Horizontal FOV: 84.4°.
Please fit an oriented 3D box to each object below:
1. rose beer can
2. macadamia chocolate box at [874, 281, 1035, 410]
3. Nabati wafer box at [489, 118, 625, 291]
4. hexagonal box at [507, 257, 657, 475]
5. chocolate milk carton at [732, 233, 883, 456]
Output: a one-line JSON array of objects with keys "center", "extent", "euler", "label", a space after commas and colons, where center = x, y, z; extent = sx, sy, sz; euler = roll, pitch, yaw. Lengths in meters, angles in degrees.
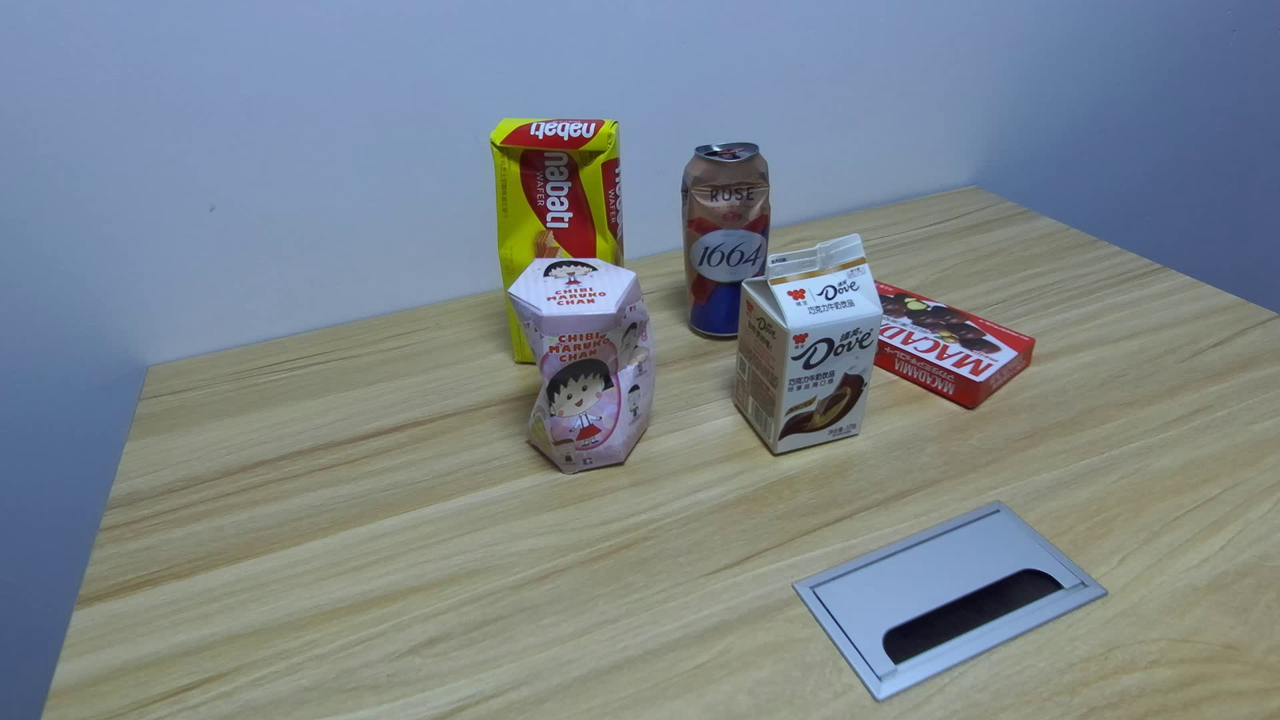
[{"center": [0.077, -0.102, 0.618], "extent": [0.075, 0.167, 0.065], "euler": [2, 30, 13], "label": "rose beer can"}, {"center": [0.235, -0.026, 0.625], "extent": [0.103, 0.027, 0.186], "euler": [-26, 41, -33], "label": "macadamia chocolate box"}, {"center": [-0.063, -0.089, 0.577], "extent": [0.096, 0.203, 0.042], "euler": [4, 32, 7], "label": "Nabati wafer box"}, {"center": [-0.045, 0.004, 0.499], "extent": [0.093, 0.135, 0.089], "euler": [27, 44, 36], "label": "hexagonal box"}, {"center": [0.118, -0.017, 0.505], "extent": [0.075, 0.148, 0.074], "euler": [-11, 35, -16], "label": "chocolate milk carton"}]
